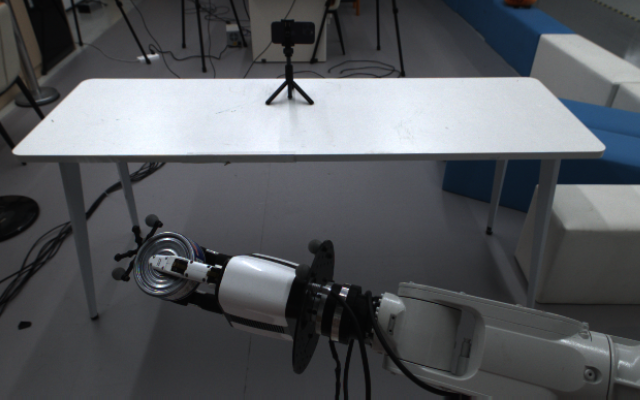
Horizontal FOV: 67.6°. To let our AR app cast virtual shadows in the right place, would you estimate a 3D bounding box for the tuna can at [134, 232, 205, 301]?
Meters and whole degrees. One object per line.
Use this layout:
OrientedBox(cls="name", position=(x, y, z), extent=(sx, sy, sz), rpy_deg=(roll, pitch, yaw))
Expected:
OrientedBox(cls="tuna can", position=(-0.190, 0.084, 0.620), extent=(0.085, 0.034, 0.085), rpy_deg=(-3, 70, 9))
